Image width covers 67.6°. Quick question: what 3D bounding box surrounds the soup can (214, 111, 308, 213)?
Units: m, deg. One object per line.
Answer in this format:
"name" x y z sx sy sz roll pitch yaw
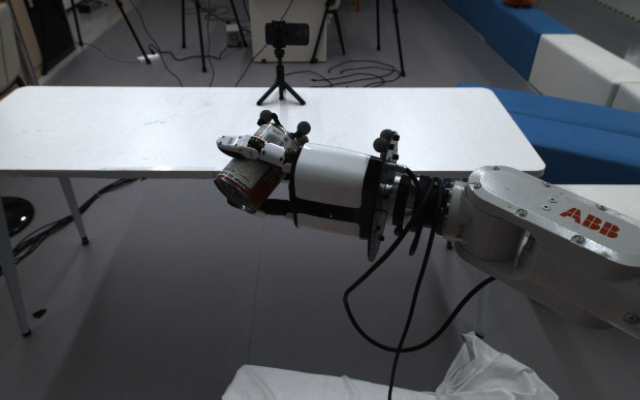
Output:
"soup can" -0.078 -0.042 0.624 0.067 0.067 0.101 25 66 30
